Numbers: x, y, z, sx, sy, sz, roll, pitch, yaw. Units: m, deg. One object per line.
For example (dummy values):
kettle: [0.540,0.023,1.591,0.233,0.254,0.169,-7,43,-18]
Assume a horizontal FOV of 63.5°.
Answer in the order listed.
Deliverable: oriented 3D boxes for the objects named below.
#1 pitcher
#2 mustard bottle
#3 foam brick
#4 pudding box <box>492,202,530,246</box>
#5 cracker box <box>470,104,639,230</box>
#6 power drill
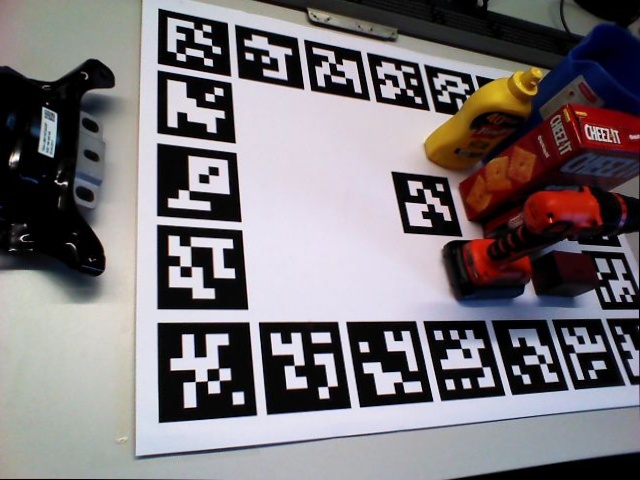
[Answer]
pitcher: [0.376,-0.179,0.766,0.188,0.244,0.132,9,64,-17]
mustard bottle: [0.249,-0.181,0.727,0.096,0.193,0.058,16,63,-16]
foam brick: [0.367,0.054,0.763,0.078,0.052,0.052,6,67,-21]
pudding box: [0.319,-0.020,0.738,0.113,0.090,0.038,3,64,-19]
cracker box: [0.341,-0.086,0.714,0.164,0.215,0.071,1,65,-20]
power drill: [0.293,0.005,0.634,0.184,0.188,0.057,2,63,-23]
